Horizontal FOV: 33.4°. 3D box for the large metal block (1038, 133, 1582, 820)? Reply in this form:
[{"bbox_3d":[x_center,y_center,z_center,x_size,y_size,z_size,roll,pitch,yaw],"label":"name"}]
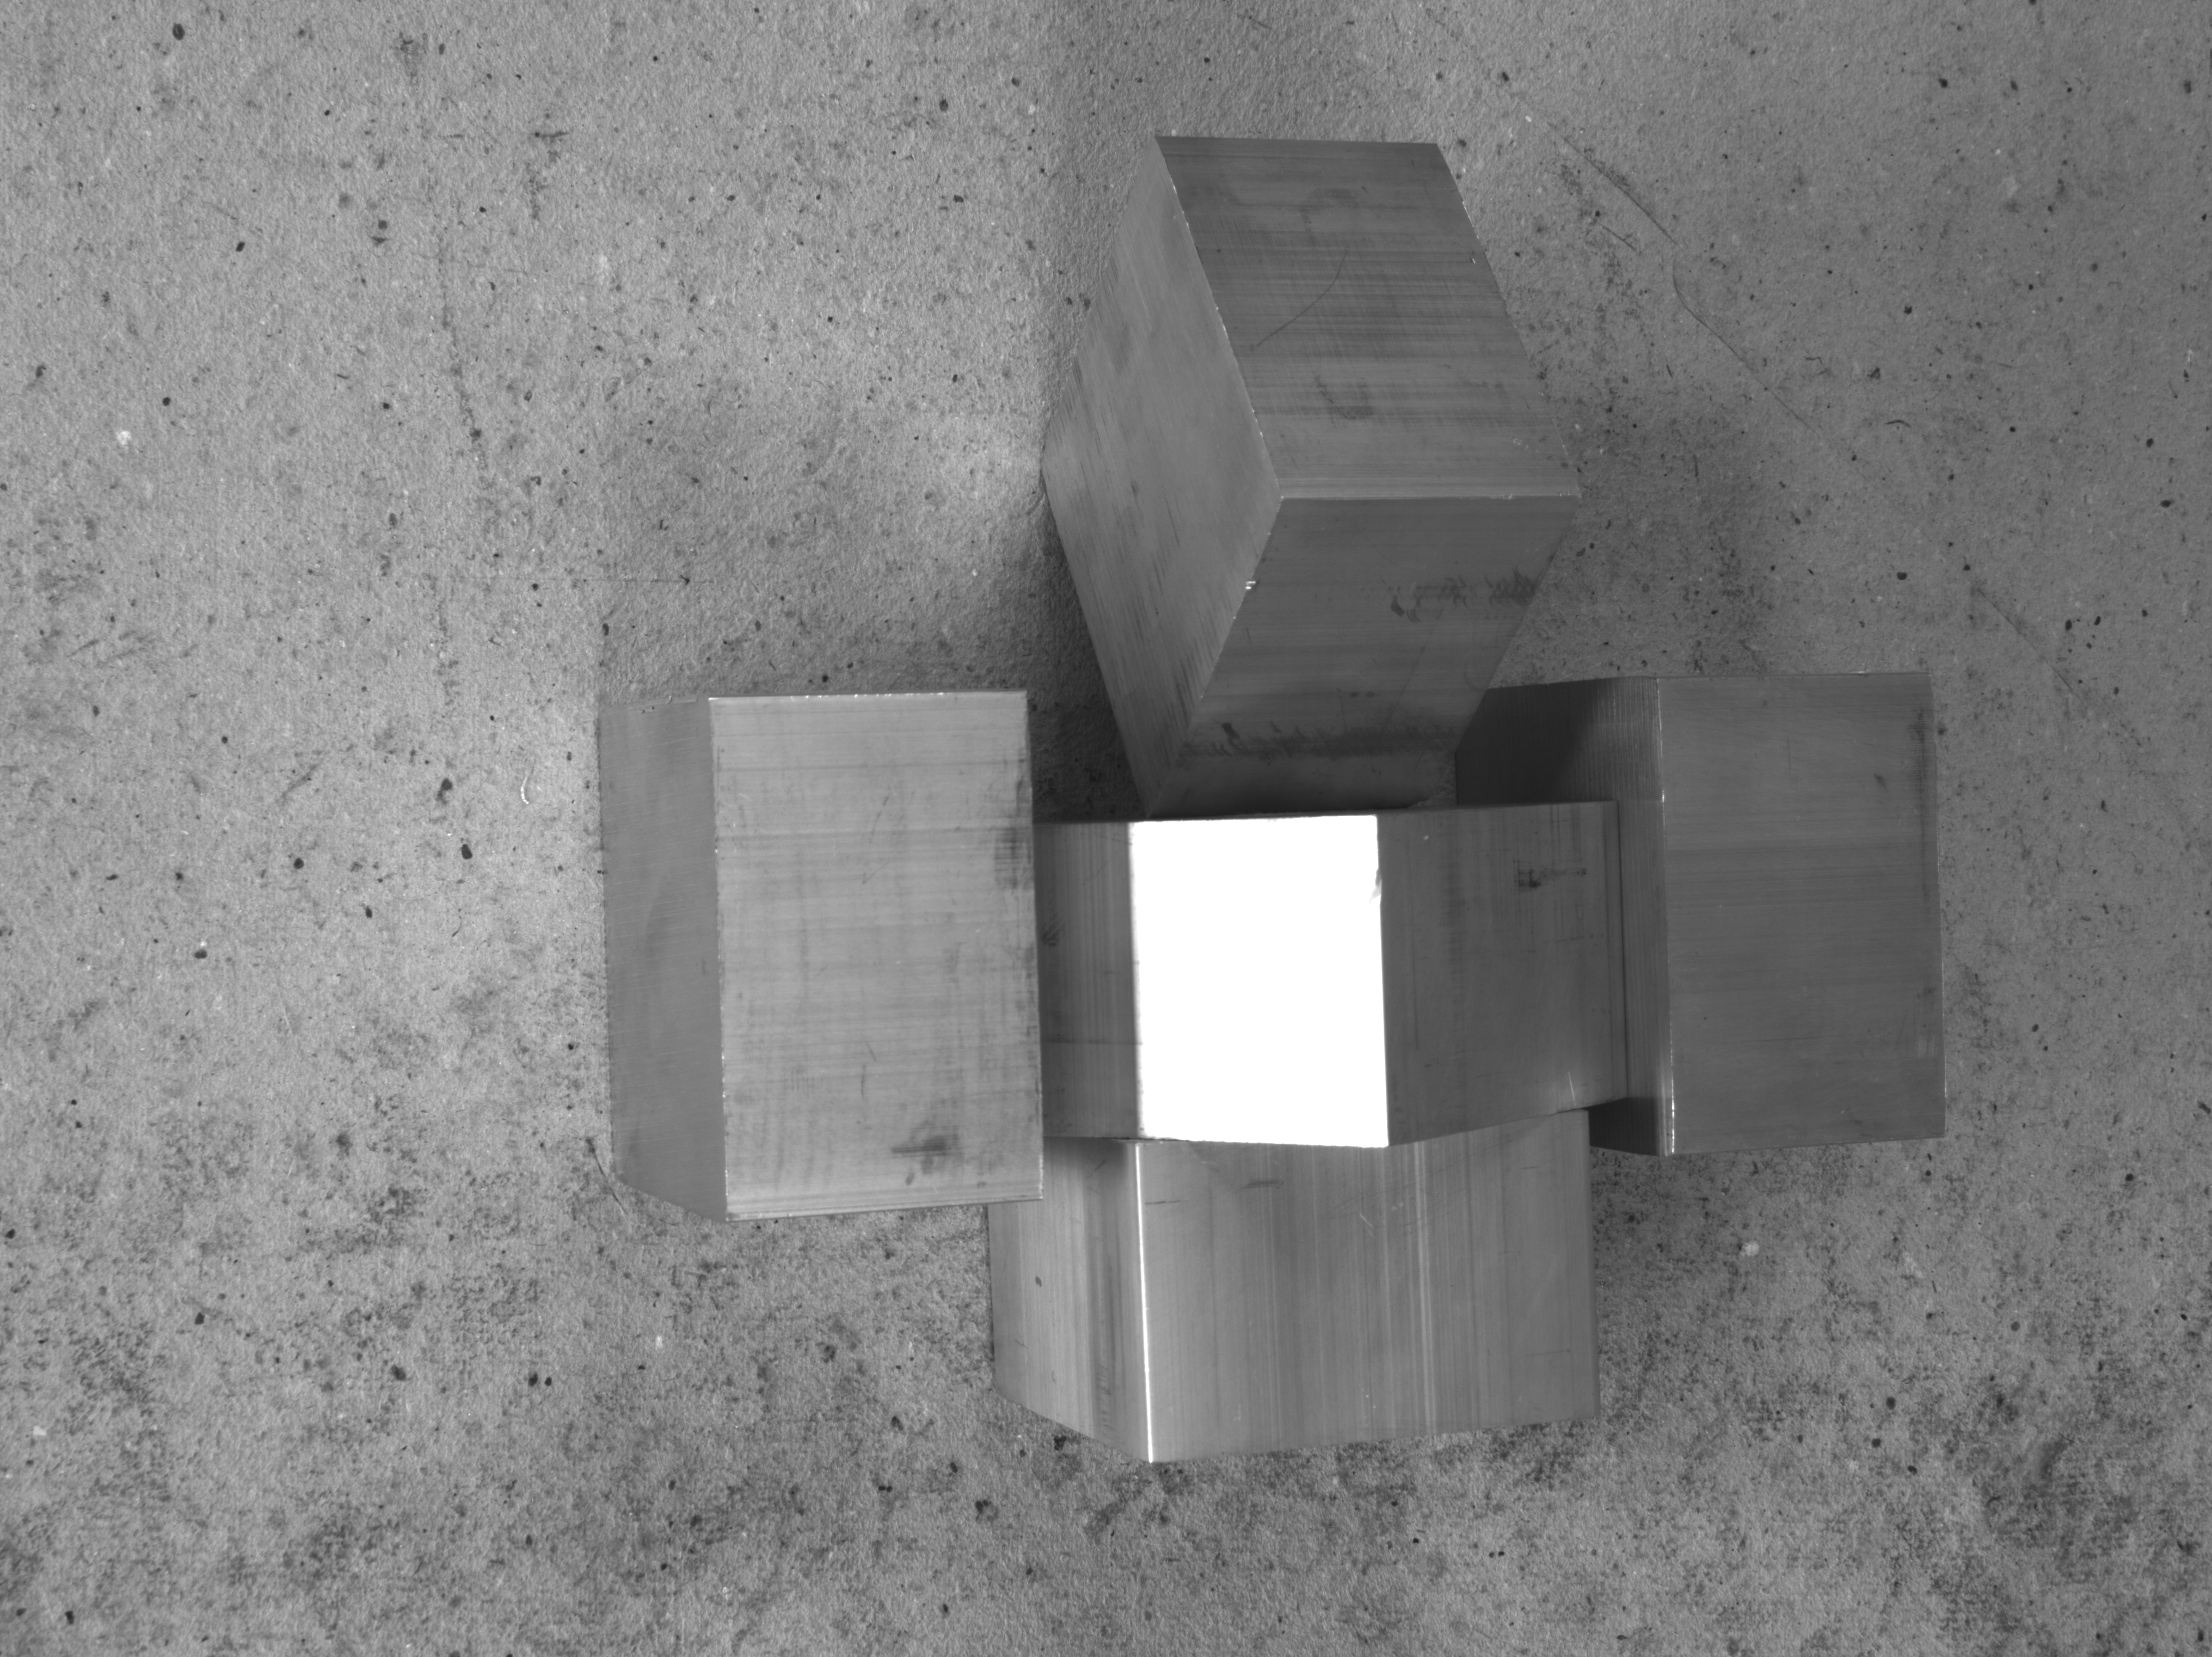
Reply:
[{"bbox_3d":[0.030,-0.057,0.610,0.050,0.080,0.080,-3,53,-20],"label":"large metal block"}]

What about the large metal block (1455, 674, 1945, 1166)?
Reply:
[{"bbox_3d":[0.103,0.016,0.651,0.050,0.080,0.080,-2,89,-21],"label":"large metal block"}]

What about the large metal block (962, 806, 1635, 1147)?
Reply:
[{"bbox_3d":[0.032,0.024,0.611,0.080,0.080,0.050,-2,90,-55],"label":"large metal block"}]

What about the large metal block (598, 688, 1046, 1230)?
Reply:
[{"bbox_3d":[-0.048,0.019,0.596,0.050,0.080,0.080,-2,90,-20],"label":"large metal block"}]

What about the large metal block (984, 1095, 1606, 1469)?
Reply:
[{"bbox_3d":[0.030,0.073,0.626,0.080,0.080,0.050,-3,91,-20],"label":"large metal block"}]
